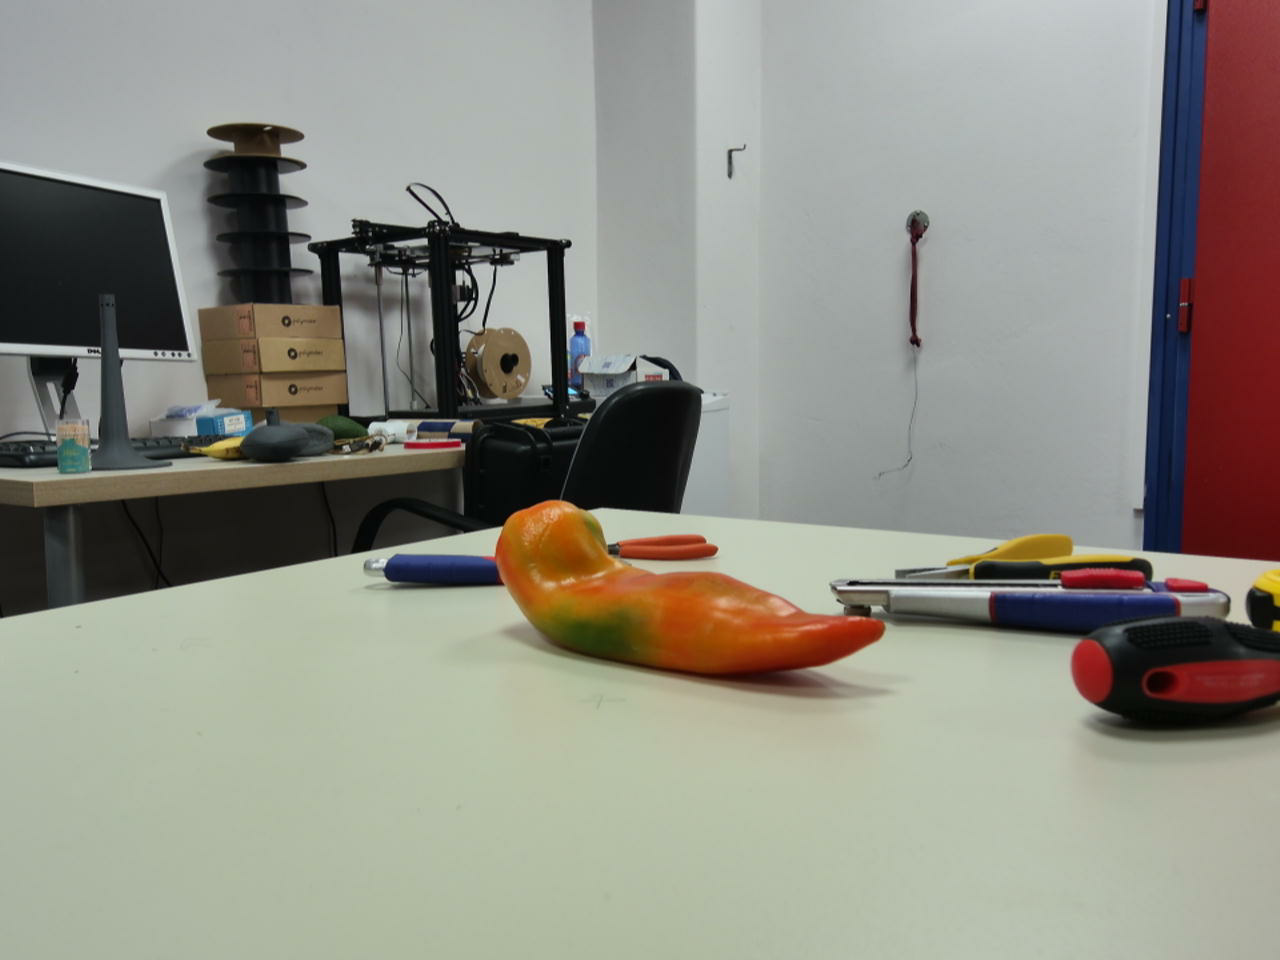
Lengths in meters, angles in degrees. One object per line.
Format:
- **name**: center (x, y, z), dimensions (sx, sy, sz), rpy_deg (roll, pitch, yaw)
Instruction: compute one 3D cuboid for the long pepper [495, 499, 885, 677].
- **long pepper**: center (0.012, 0.047, 0.443), dimensions (0.199, 0.065, 0.066), rpy_deg (4, 4, 43)
